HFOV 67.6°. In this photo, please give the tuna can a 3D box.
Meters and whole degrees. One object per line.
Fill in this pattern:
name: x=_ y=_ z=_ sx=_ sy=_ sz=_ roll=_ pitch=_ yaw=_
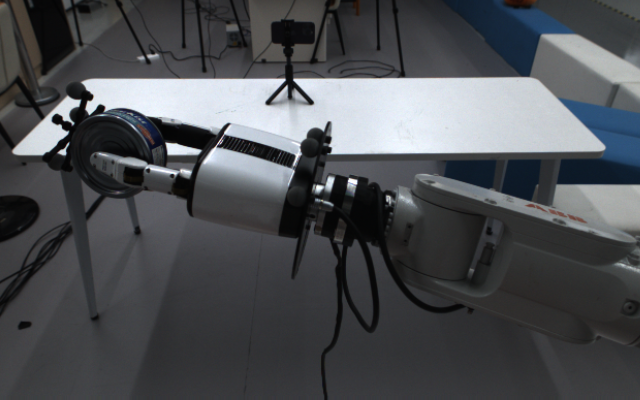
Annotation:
tuna can: x=-0.203 y=-0.045 z=0.476 sx=0.085 sy=0.085 sz=0.034 roll=6 pitch=20 yaw=5
